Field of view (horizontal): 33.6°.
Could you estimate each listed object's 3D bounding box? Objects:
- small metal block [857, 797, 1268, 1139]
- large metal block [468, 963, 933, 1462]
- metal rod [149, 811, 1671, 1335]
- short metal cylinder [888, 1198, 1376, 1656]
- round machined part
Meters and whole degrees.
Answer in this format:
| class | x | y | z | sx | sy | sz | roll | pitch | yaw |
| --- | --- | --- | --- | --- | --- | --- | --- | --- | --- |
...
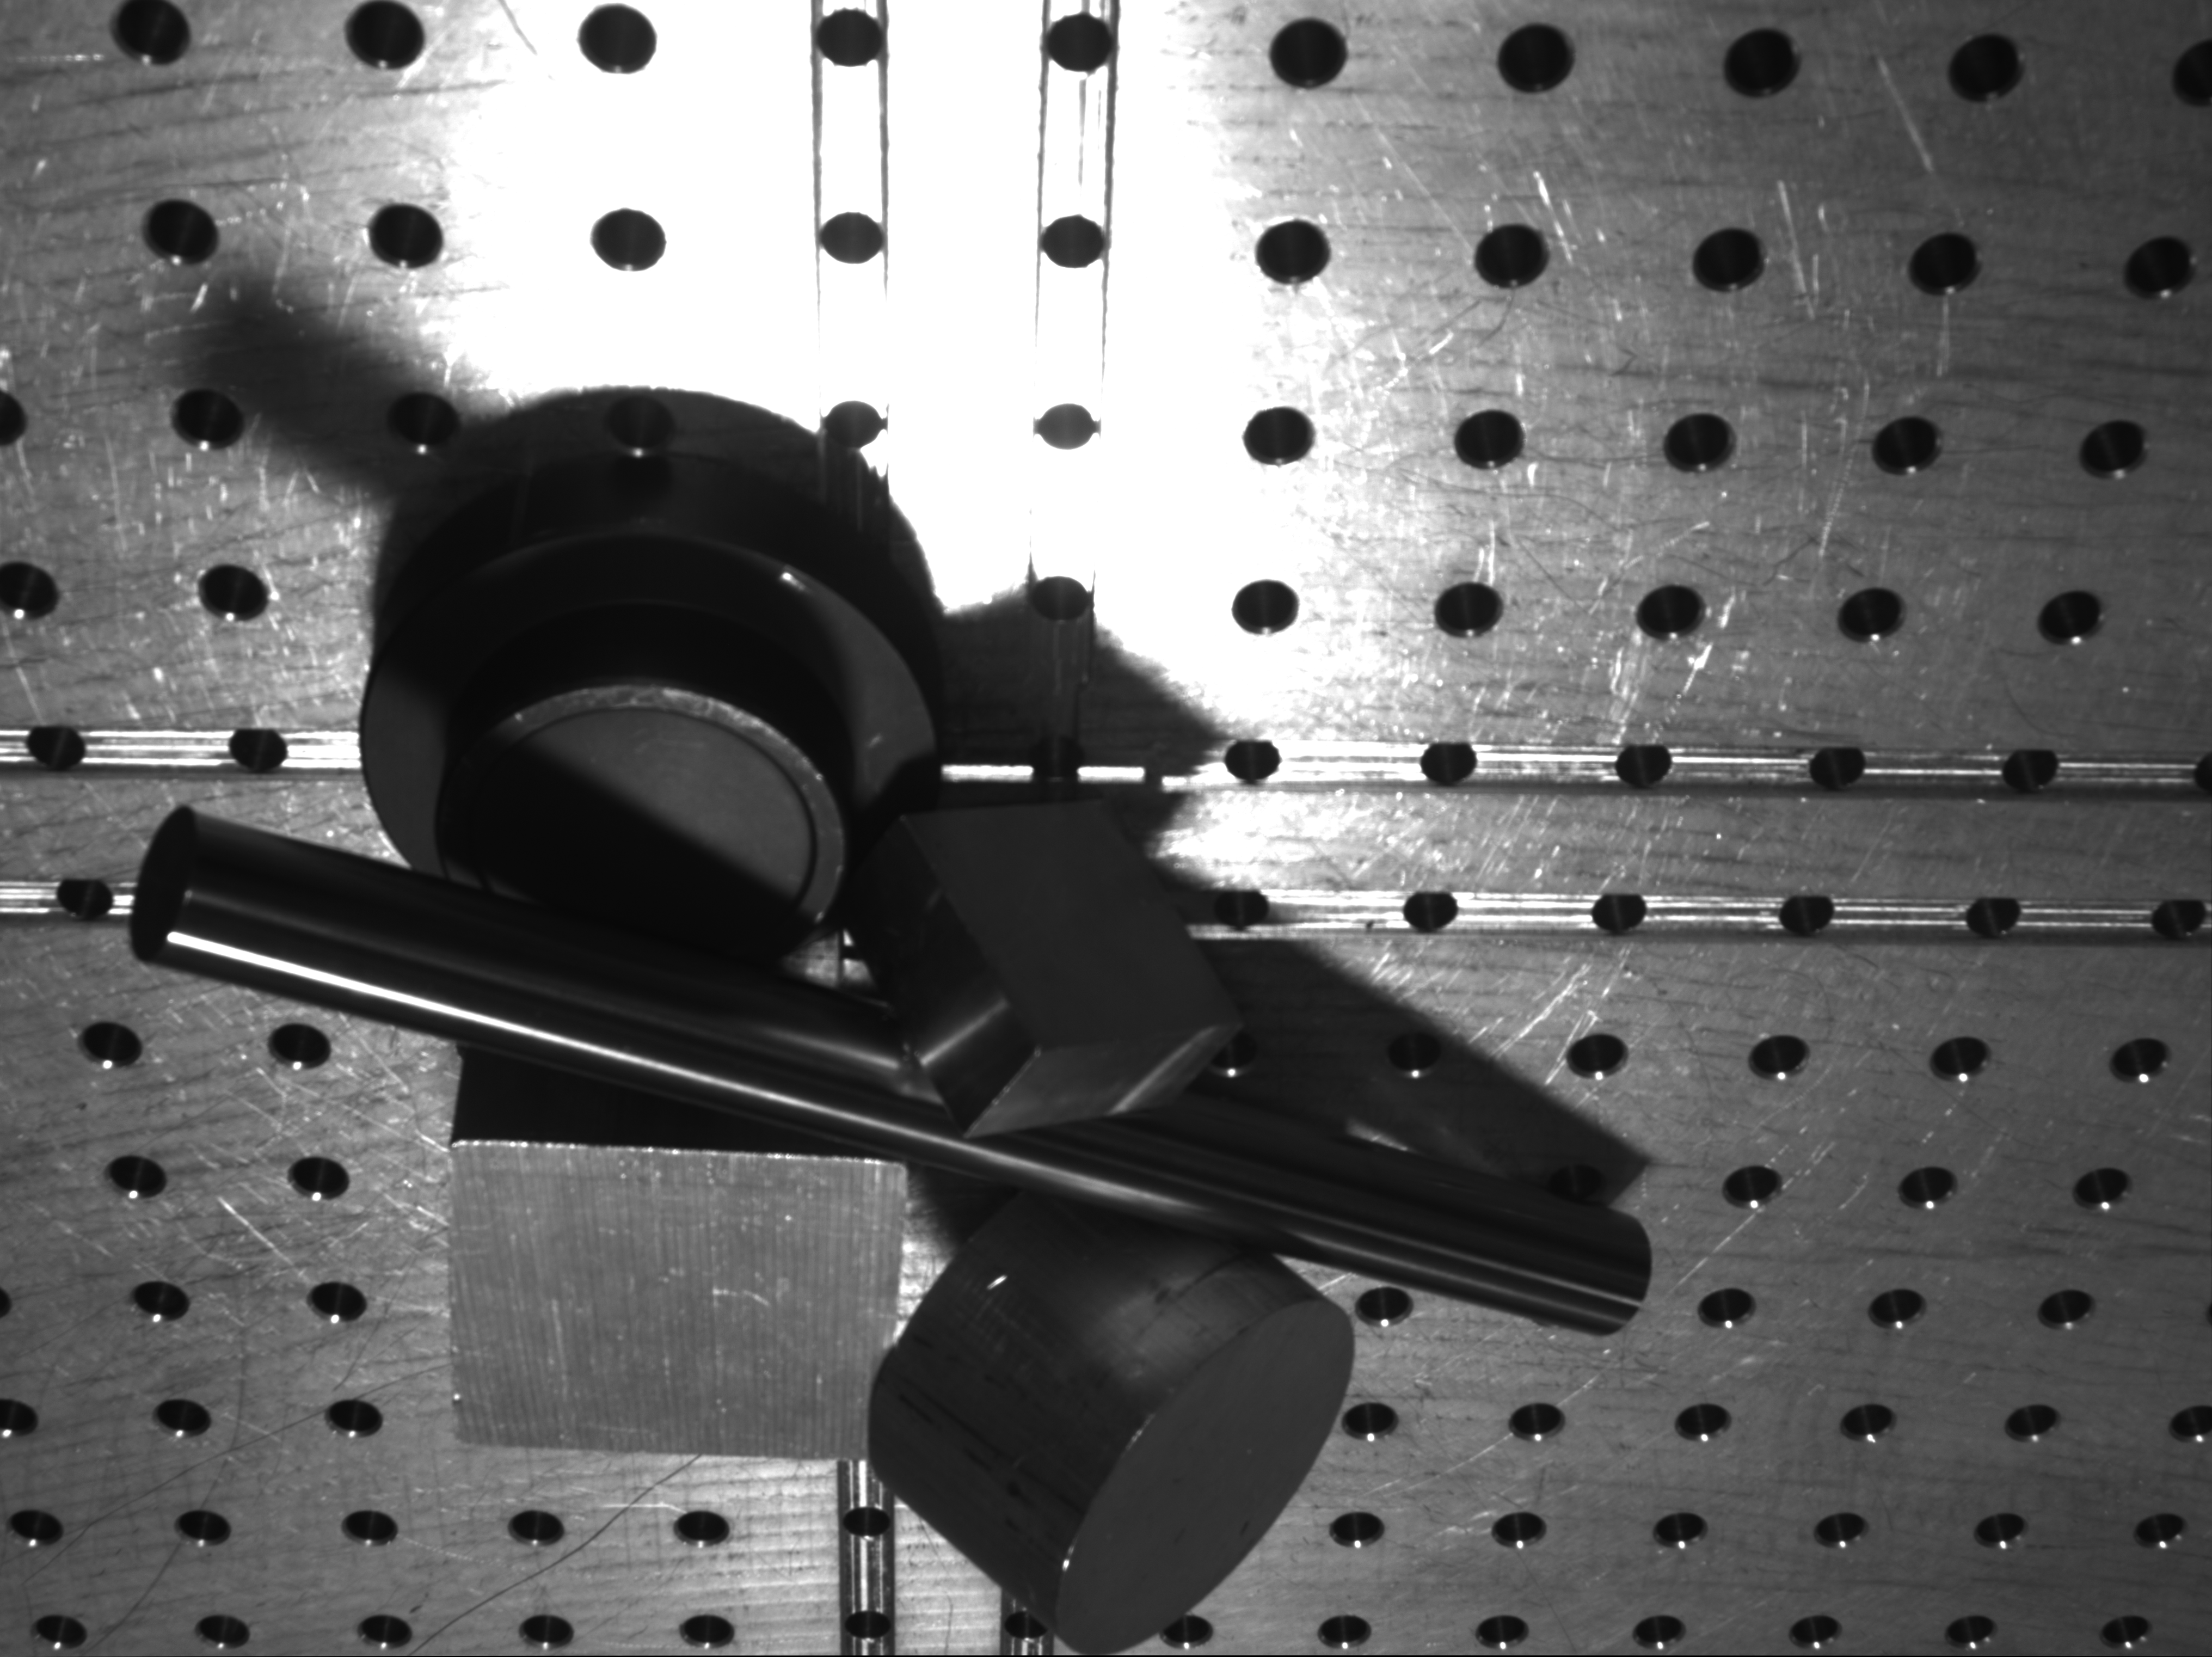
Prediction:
| class | x | y | z | sx | sy | sz | roll | pitch | yaw |
| --- | --- | --- | --- | --- | --- | --- | --- | --- | --- |
| small metal block | -0.008 | 0.023 | 0.632 | 0.050 | 0.050 | 0.025 | -5 | 144 | -45 |
| large metal block | -0.075 | 0.070 | 0.678 | 0.080 | 0.050 | 0.080 | 4 | 130 | -5 |
| metal rod | -0.020 | 0.048 | 0.639 | 0.301 | 0.025 | 0.025 | 18 | 128 | -32 |
| short metal cylinder | 0.005 | 0.108 | 0.688 | 0.080 | 0.050 | 0.080 | -37 | 146 | -30 |
| round machined part | -0.073 | -0.011 | 0.619 | 0.098 | 0.042 | 0.098 | -1 | 130 | -1 |
